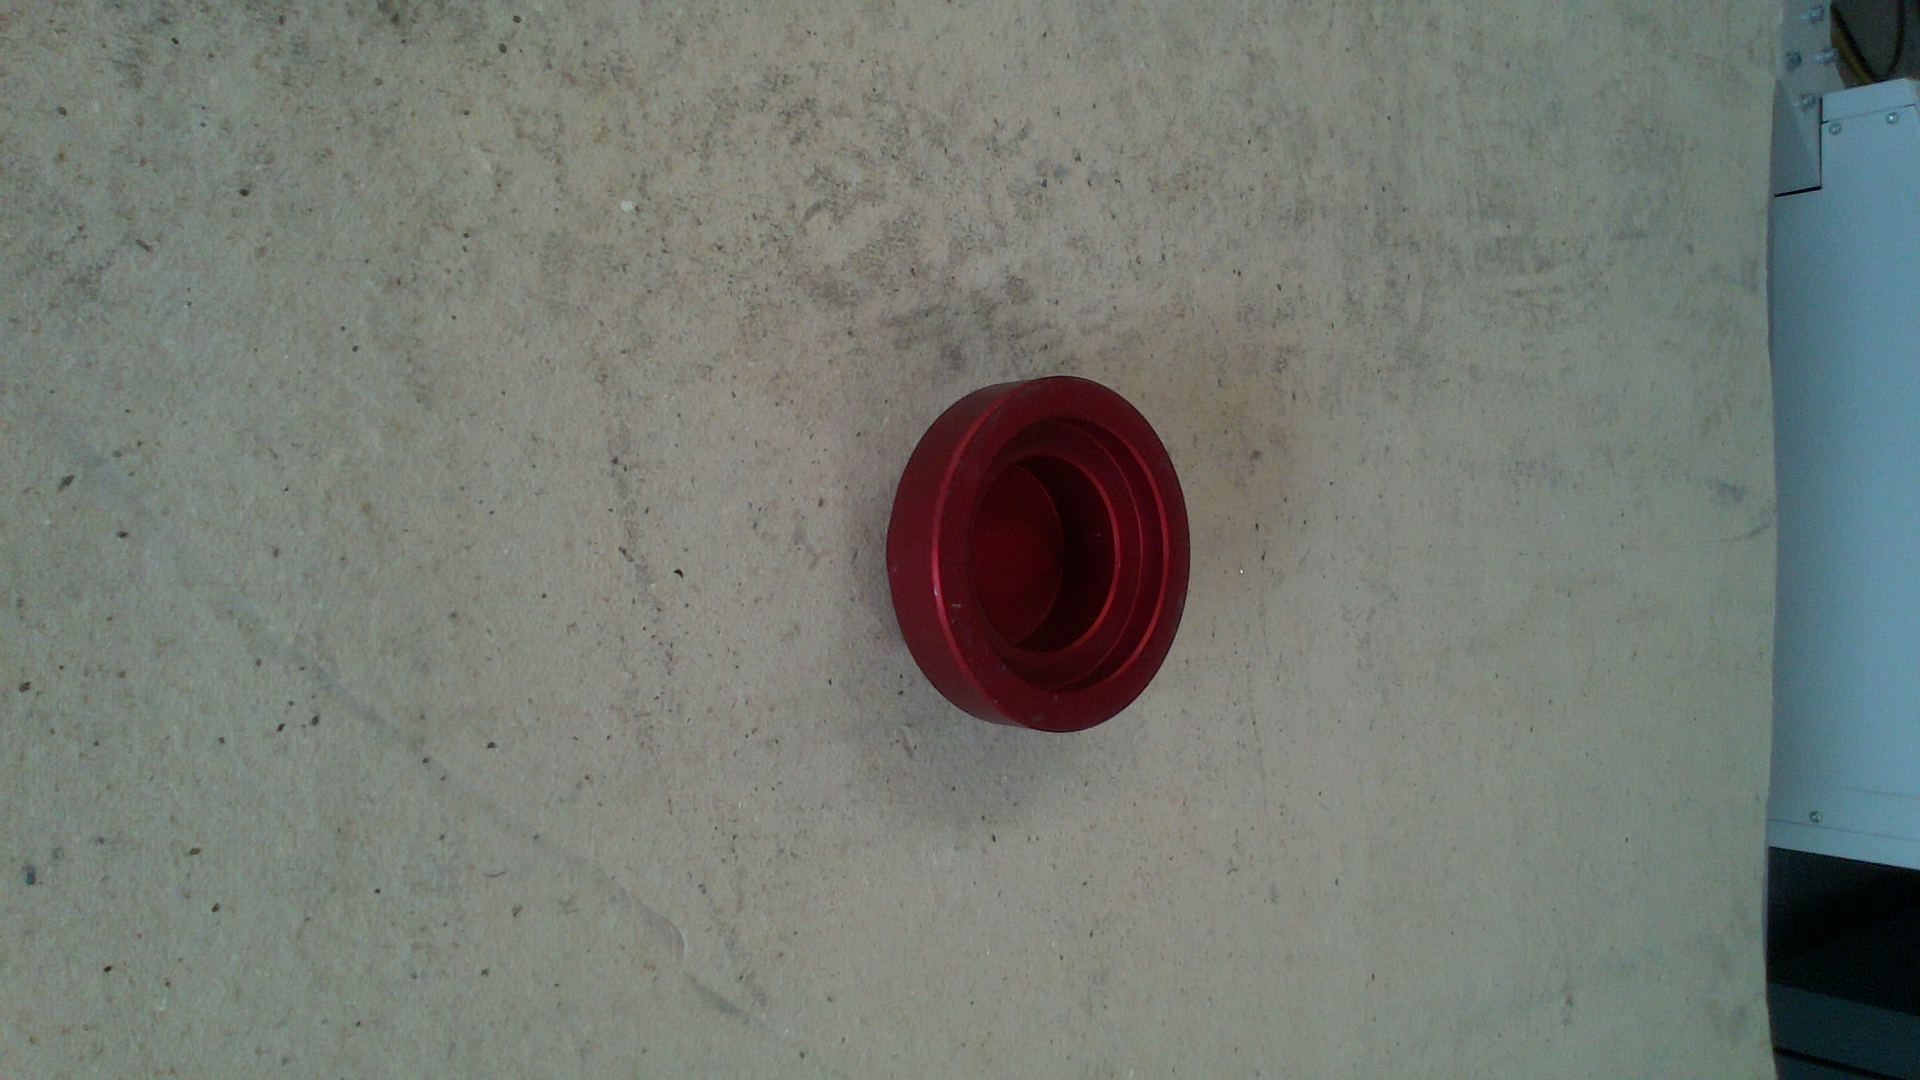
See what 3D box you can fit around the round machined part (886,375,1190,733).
[{"bbox_3d":[0.018,0.004,0.393,0.098,0.042,0.098,0,90,-40],"label":"round machined part"}]
